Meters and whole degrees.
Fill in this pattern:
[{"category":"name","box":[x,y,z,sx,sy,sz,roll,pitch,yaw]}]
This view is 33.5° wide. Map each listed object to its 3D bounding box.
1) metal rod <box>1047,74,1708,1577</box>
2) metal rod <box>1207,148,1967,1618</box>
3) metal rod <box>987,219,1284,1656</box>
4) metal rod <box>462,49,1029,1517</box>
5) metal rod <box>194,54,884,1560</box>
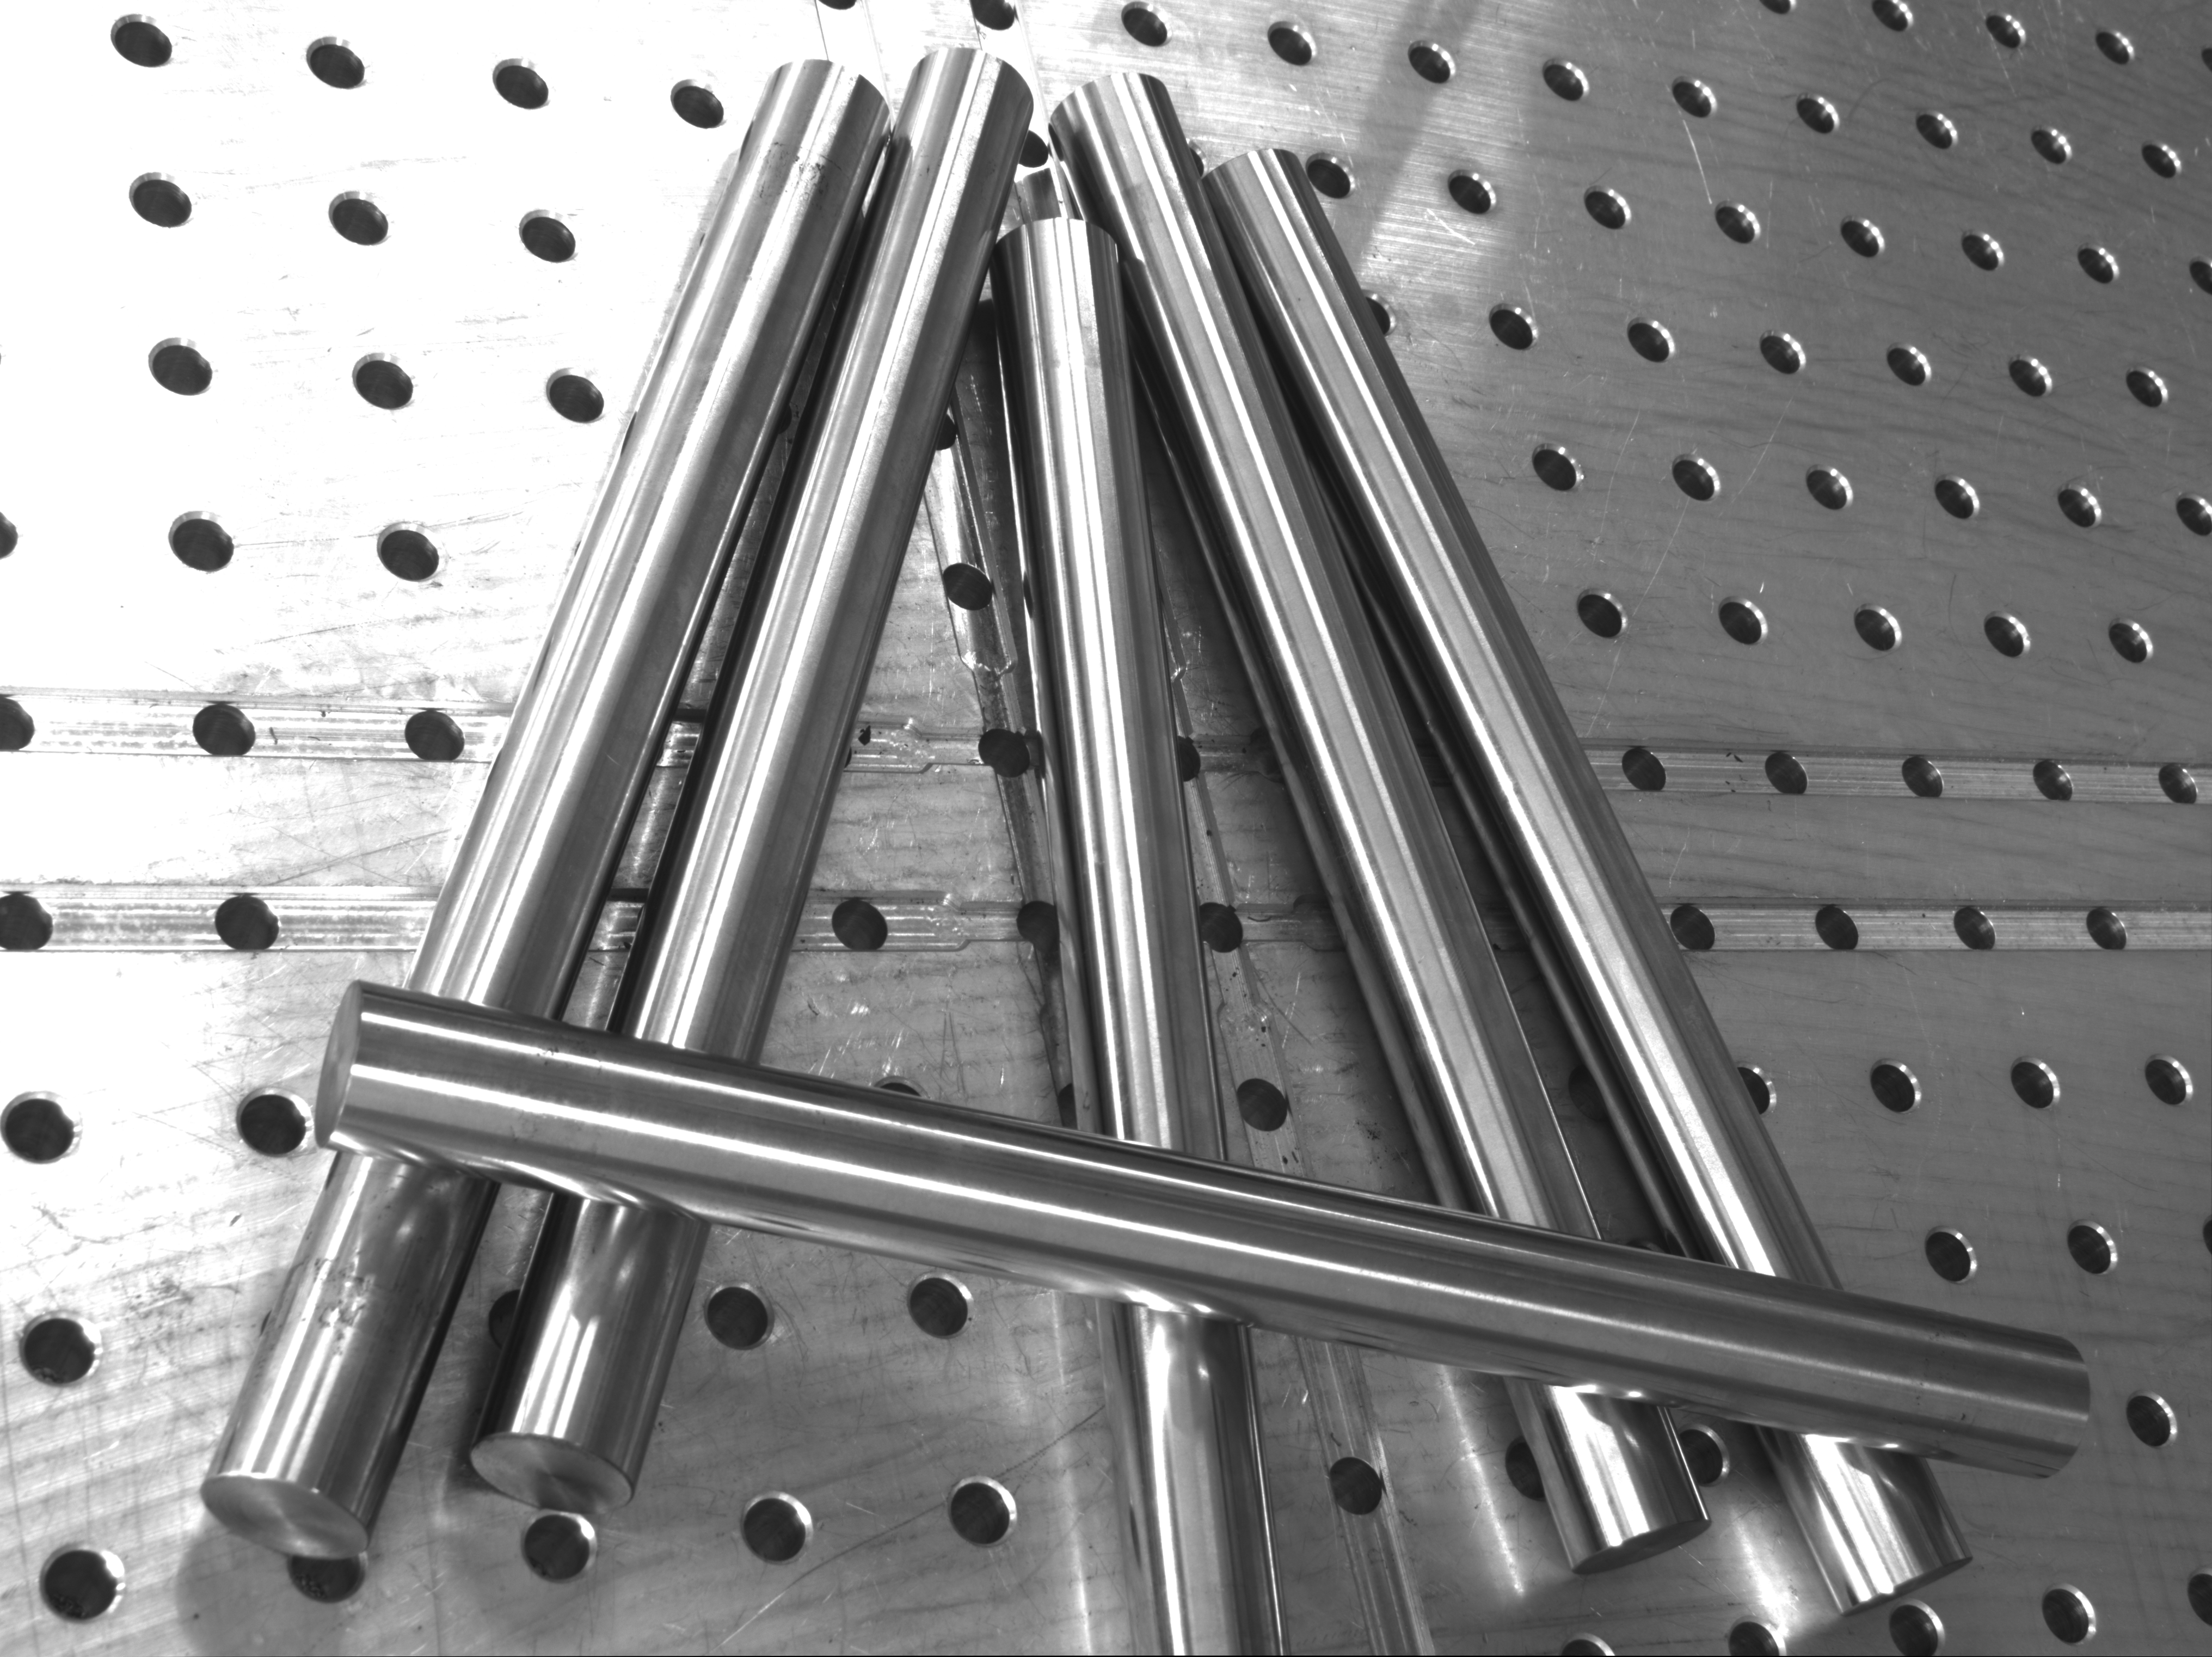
[{"category":"metal rod","box":[0.045,-0.010,0.673,0.025,0.025,0.300,-5,64,-30]},{"category":"metal rod","box":[0.082,0.002,0.685,0.025,0.025,0.300,-10,67,-32]},{"category":"metal rod","box":[0.003,0.022,0.631,0.025,0.025,0.300,8,58,-24]},{"category":"metal rod","box":[-0.055,-0.023,0.628,0.025,0.025,0.300,23,53,-14]},{"category":"metal rod","box":[-0.086,-0.020,0.608,0.025,0.025,0.300,25,53,-13]}]
